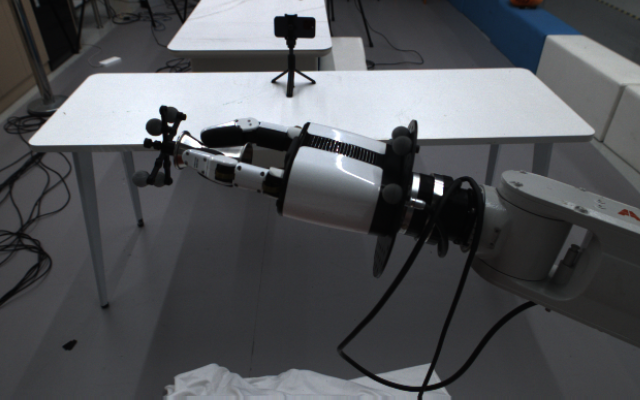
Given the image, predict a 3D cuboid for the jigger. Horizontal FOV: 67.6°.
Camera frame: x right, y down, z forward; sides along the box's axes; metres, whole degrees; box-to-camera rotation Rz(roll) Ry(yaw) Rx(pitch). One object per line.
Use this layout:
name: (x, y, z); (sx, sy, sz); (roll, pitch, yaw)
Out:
jigger: (-0.100, -0.045, 0.488); (0.071, 0.043, 0.043); (12, 36, 5)
